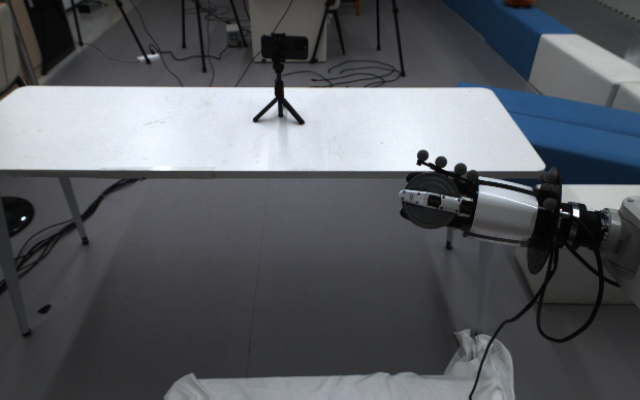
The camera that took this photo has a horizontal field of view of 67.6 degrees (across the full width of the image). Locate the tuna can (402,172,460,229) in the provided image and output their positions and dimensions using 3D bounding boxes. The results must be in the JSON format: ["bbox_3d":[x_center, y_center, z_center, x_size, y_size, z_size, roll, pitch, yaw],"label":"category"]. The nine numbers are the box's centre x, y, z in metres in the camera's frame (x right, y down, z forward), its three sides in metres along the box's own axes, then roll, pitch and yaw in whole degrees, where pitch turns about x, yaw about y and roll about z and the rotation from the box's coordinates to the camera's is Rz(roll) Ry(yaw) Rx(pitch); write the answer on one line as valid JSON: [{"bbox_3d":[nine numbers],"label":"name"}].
[{"bbox_3d":[0.172,-0.001,0.738,0.085,0.085,0.034,13,2,16],"label":"tuna can"}]
